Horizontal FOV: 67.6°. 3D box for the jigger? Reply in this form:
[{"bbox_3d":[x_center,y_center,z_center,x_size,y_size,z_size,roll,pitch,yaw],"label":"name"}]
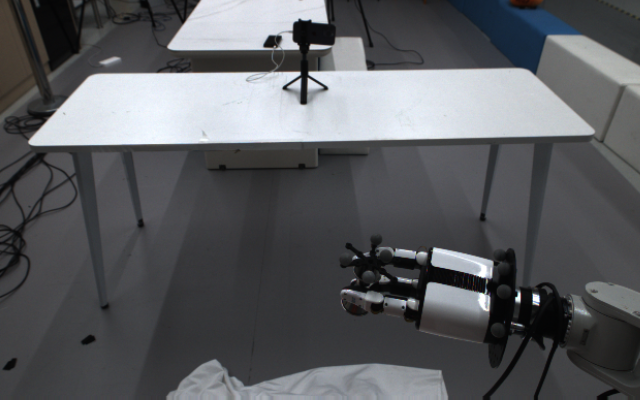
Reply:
[{"bbox_3d":[0.058,0.125,0.686,0.043,0.071,0.043,10,35,-7],"label":"jigger"}]
